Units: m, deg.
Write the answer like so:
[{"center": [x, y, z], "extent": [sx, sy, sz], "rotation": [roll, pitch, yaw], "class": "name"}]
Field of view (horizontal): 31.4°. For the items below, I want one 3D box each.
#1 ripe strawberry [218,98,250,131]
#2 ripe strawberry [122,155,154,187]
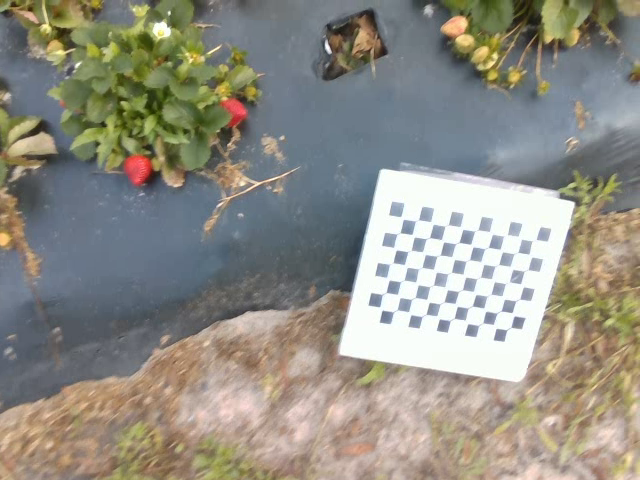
[{"center": [-0.127, -0.186, 1.585], "extent": [0.046, 0.043, 0.046], "rotation": [12, 9, 16], "class": "ripe strawberry"}, {"center": [-0.260, -0.096, 1.556], "extent": [0.043, 0.051, 0.043], "rotation": [-7, -14, -11], "class": "ripe strawberry"}]
